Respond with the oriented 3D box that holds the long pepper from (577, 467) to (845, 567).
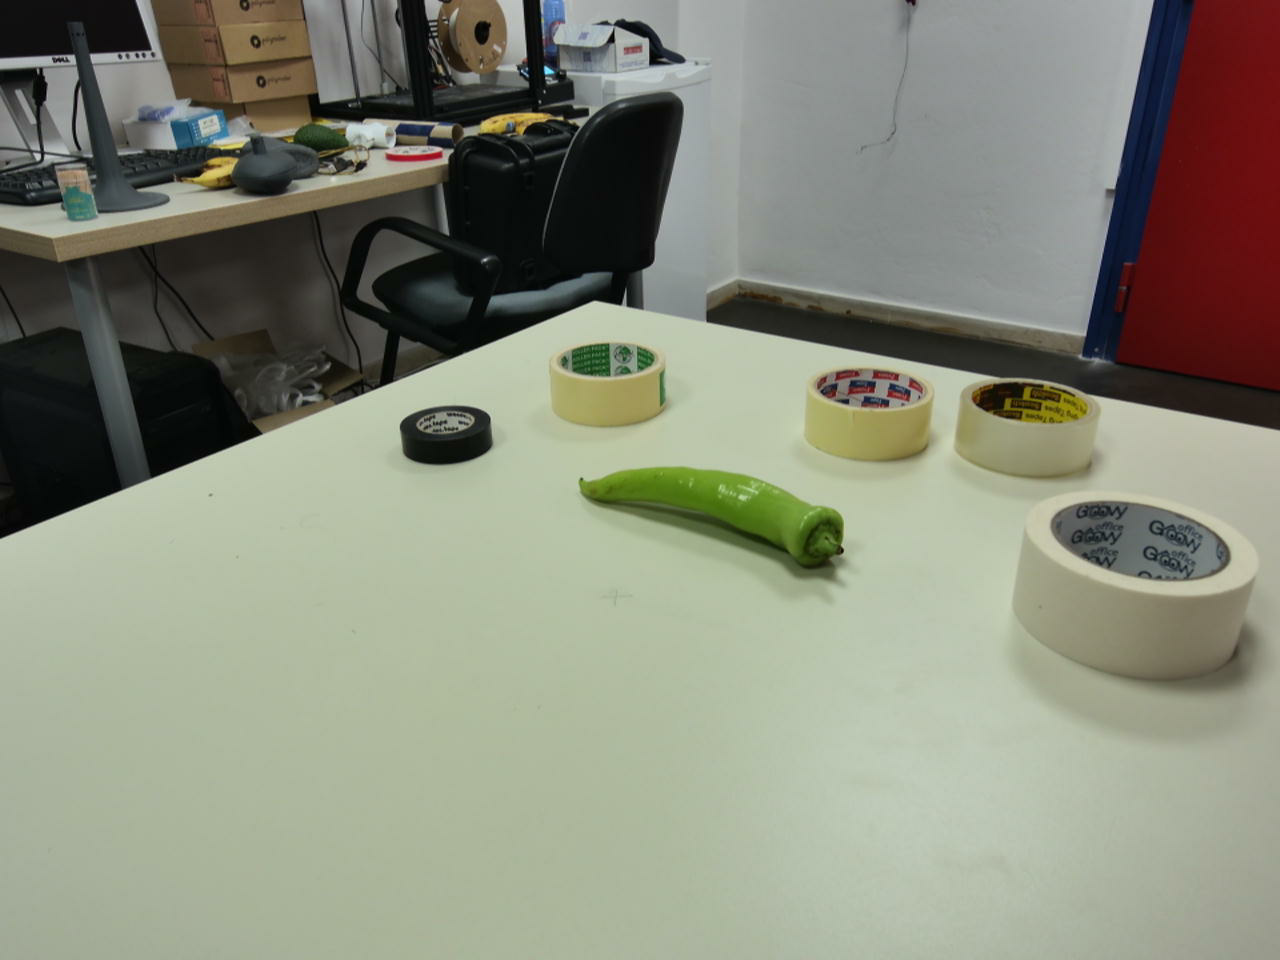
[{"bbox_3d":[0.043,0.011,0.612,0.197,0.038,0.046,19,31,34],"label":"long pepper"}]
